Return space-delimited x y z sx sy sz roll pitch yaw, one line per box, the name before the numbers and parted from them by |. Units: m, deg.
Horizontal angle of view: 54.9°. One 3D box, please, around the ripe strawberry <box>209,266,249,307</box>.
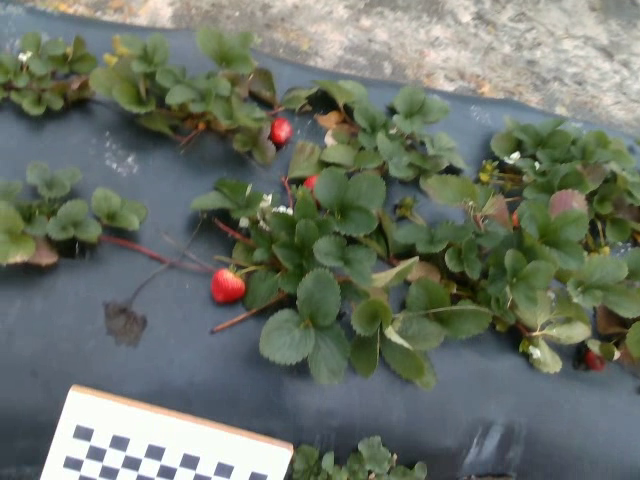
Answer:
ripe strawberry | -0.155 0.078 0.981 0.062 0.065 0.050 30 -4 -13
